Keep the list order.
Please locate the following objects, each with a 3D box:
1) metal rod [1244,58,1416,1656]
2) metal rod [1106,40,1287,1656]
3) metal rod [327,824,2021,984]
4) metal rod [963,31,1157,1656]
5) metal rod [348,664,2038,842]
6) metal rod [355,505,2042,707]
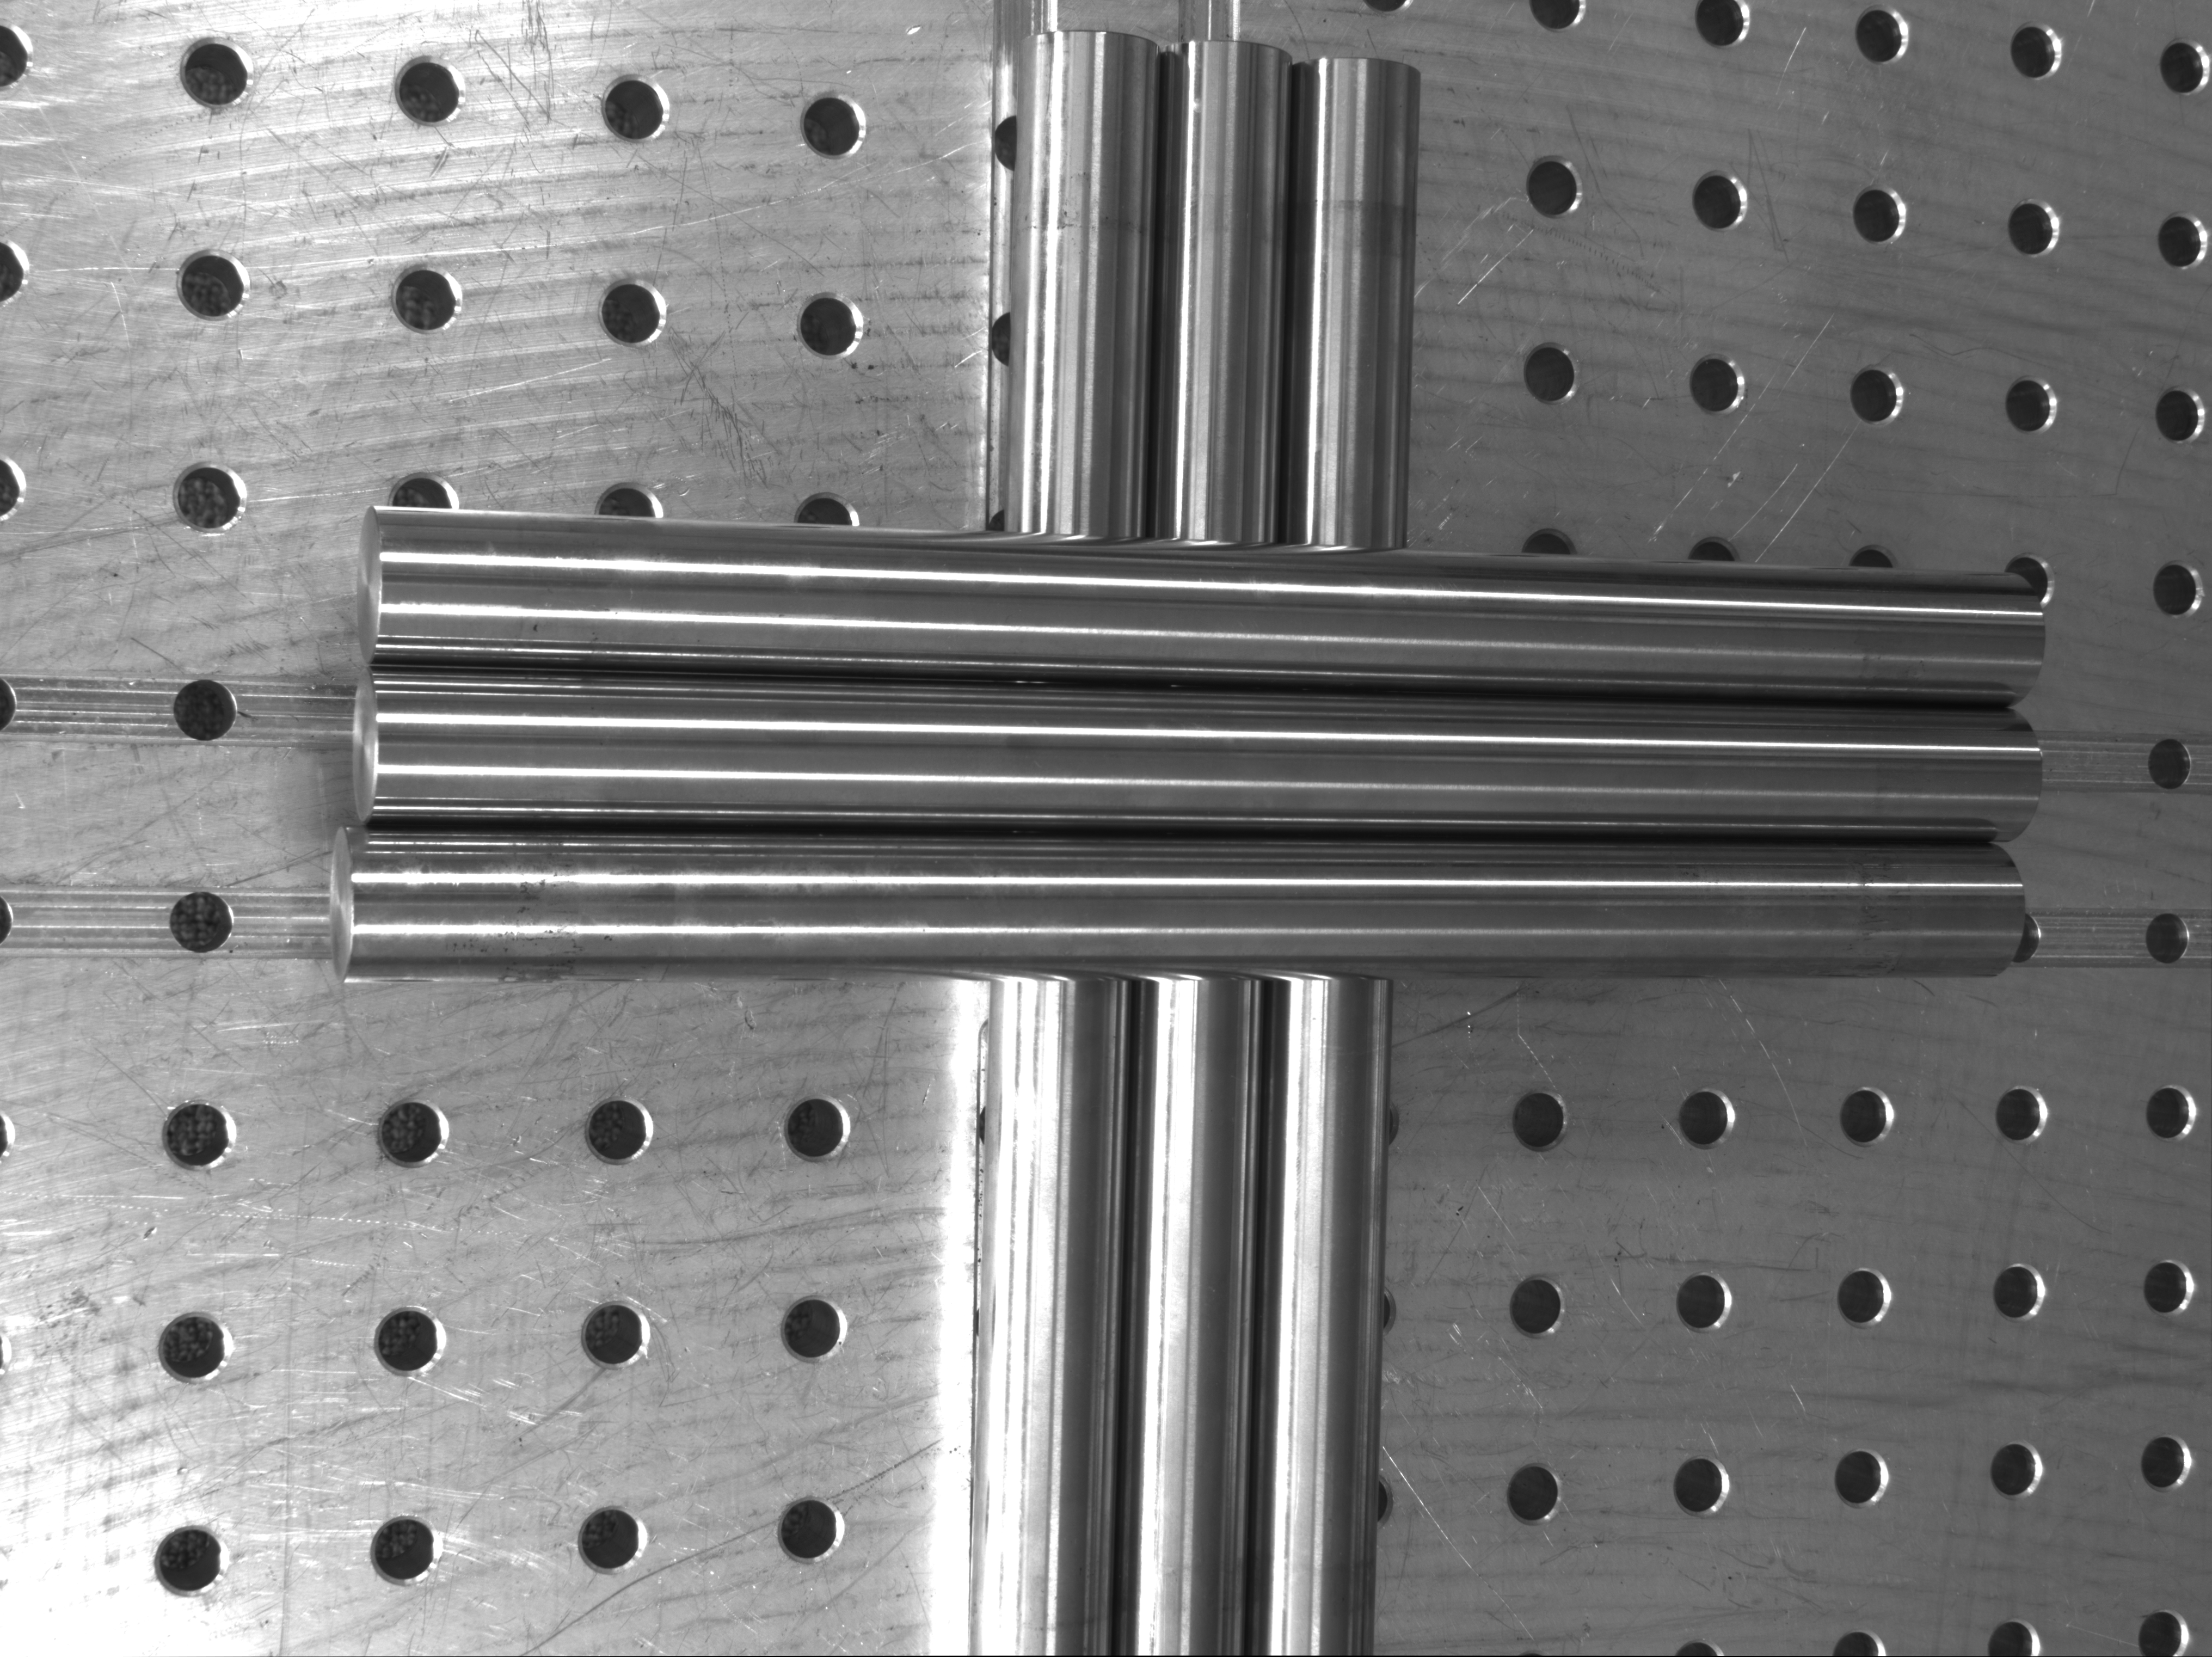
[{"bbox_3d":[0.039,0.014,0.660,0.025,0.025,0.300,2,89,-20],"label":"metal rod"},{"bbox_3d":[0.015,0.013,0.651,0.025,0.025,0.300,2,89,-20],"label":"metal rod"},{"bbox_3d":[0.020,0.014,0.627,0.301,0.025,0.025,1,90,-20],"label":"metal rod"},{"bbox_3d":[-0.008,0.013,0.643,0.025,0.025,0.300,2,89,-20],"label":"metal rod"},{"bbox_3d":[0.024,-0.012,0.628,0.301,0.025,0.025,1,90,-20],"label":"metal rod"},{"bbox_3d":[0.025,-0.037,0.628,0.301,0.025,0.025,1,90,-20],"label":"metal rod"}]
